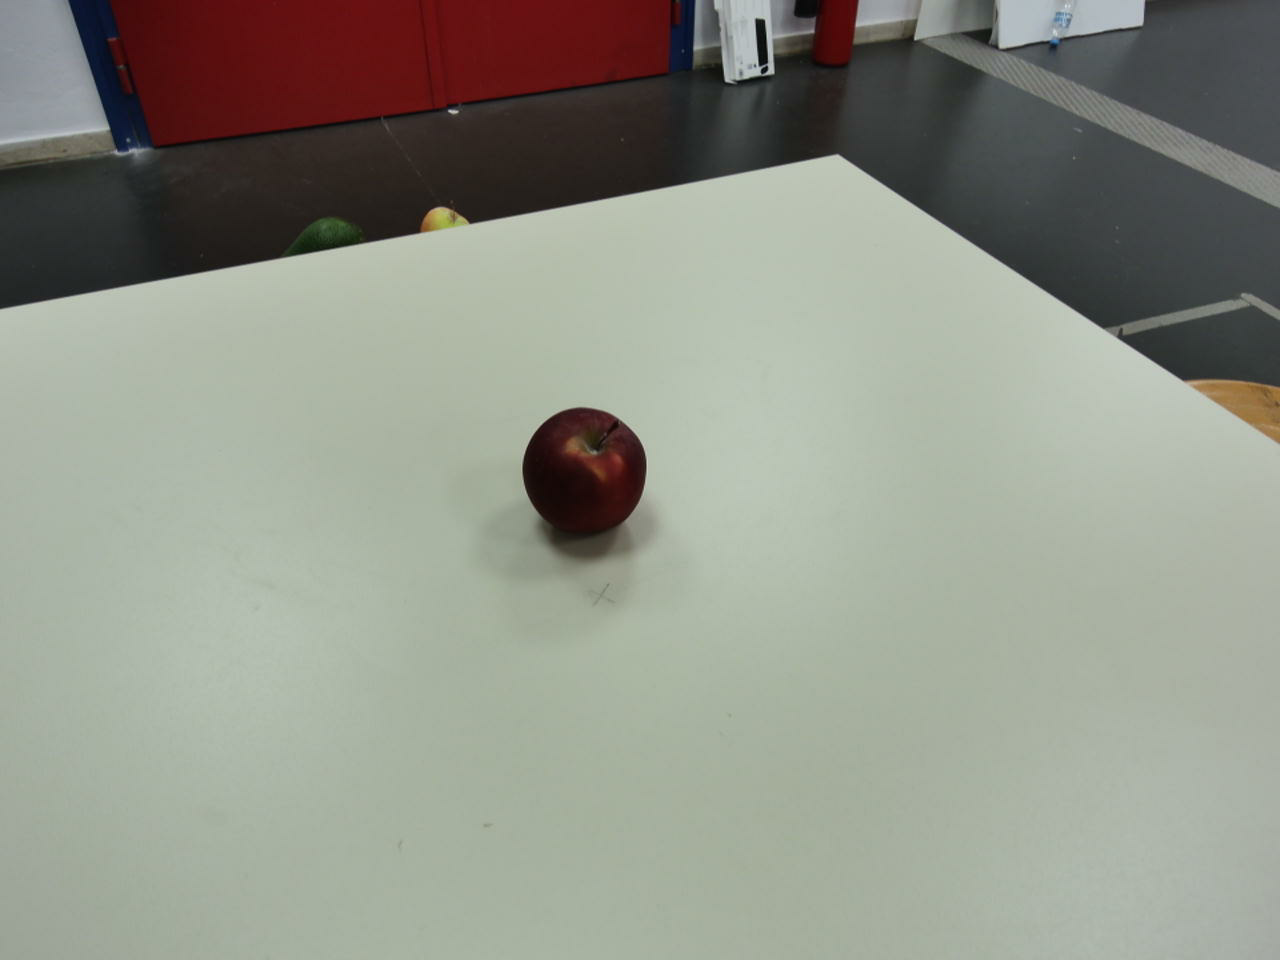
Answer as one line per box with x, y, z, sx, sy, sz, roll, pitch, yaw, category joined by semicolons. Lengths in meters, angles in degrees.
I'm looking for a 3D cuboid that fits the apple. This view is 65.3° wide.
-0.031;-0.004;0.557;0.070;0.072;0.070;1;39;-1;apple
